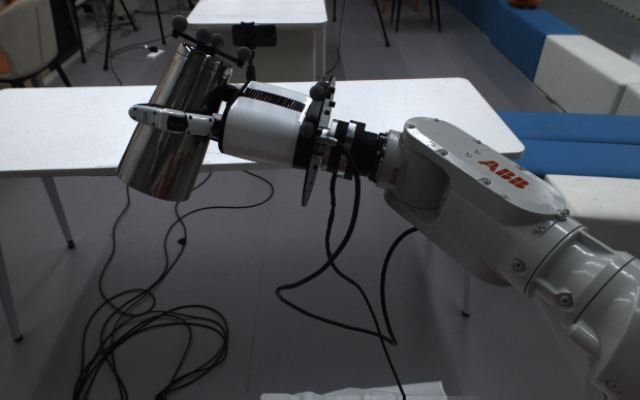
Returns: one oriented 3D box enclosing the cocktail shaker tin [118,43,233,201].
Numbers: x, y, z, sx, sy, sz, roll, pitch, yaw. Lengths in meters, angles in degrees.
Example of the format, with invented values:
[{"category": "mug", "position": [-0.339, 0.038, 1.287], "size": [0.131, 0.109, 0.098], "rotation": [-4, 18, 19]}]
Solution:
[{"category": "cocktail shaker tin", "position": [-0.166, -0.095, 0.577], "size": [0.093, 0.170, 0.093], "rotation": [24, 12, -6]}]
